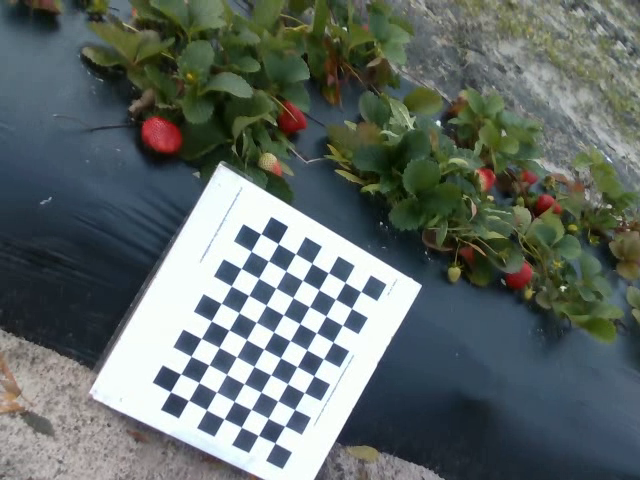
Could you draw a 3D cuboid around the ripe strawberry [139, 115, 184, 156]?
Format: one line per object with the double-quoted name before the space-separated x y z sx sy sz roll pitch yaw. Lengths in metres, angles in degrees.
"ripe strawberry" -0.142 -0.093 0.566 0.037 0.046 0.037 -15 -43 -7
